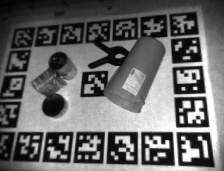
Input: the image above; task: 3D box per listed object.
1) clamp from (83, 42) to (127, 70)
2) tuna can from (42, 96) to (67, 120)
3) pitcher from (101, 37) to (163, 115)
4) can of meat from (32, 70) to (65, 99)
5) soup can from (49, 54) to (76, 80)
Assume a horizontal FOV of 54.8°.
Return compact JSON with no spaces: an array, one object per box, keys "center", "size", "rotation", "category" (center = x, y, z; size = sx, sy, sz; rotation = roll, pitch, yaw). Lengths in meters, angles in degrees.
[{"center":[-0.024,-0.117,0.839],"size":[0.164,0.037,0.121],"rotation":[0,68,8],"category":"clamp"},{"center":[-0.213,0.085,0.800],"size":[0.085,0.034,0.085],"rotation":[-3,73,11],"category":"tuna can"},{"center":[0.069,-0.037,0.726],"size":[0.186,0.135,0.243],"rotation":[12,66,39],"category":"pitcher"},{"center":[-0.237,-0.002,0.795],"size":[0.084,0.103,0.057],"rotation":[-38,69,2],"category":"can of meat"},{"center":[-0.188,-0.068,0.812],"size":[0.067,0.103,0.068],"rotation":[-4,72,14],"category":"soup can"}]
